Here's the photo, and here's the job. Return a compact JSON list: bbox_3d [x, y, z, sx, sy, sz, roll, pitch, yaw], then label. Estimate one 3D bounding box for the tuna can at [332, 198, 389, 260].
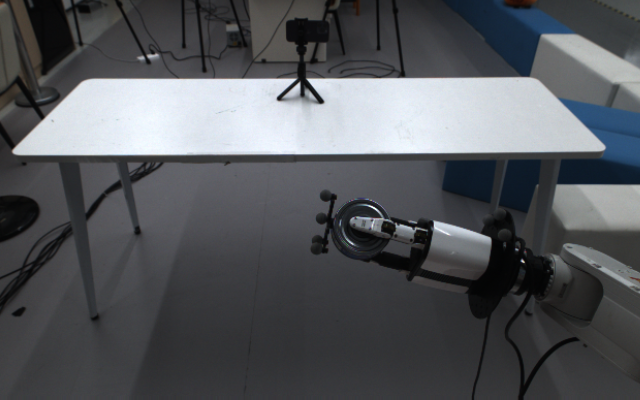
[{"bbox_3d":[0.062,0.044,0.691,0.085,0.034,0.085,2,73,-5],"label":"tuna can"}]
